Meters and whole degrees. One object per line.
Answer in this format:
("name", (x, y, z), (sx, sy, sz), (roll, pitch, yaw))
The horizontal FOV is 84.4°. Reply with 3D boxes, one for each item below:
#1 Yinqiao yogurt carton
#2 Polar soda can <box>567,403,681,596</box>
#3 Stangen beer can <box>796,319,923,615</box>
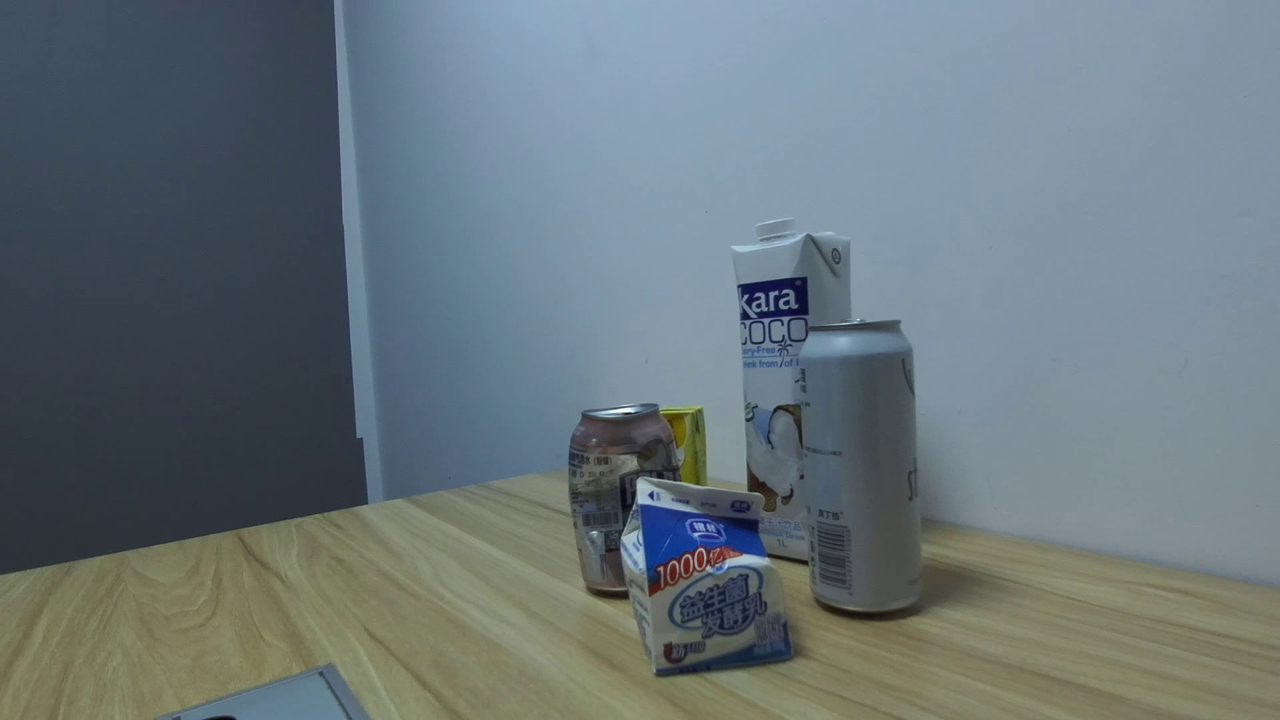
("Yinqiao yogurt carton", (0.033, 0.106, 0.385), (0.083, 0.093, 0.077), (-4, 4, -6))
("Polar soda can", (-0.007, 0.095, 0.484), (0.074, 0.121, 0.067), (-3, 4, 30))
("Stangen beer can", (0.132, 0.063, 0.425), (0.067, 0.171, 0.067), (-3, 1, 0))
